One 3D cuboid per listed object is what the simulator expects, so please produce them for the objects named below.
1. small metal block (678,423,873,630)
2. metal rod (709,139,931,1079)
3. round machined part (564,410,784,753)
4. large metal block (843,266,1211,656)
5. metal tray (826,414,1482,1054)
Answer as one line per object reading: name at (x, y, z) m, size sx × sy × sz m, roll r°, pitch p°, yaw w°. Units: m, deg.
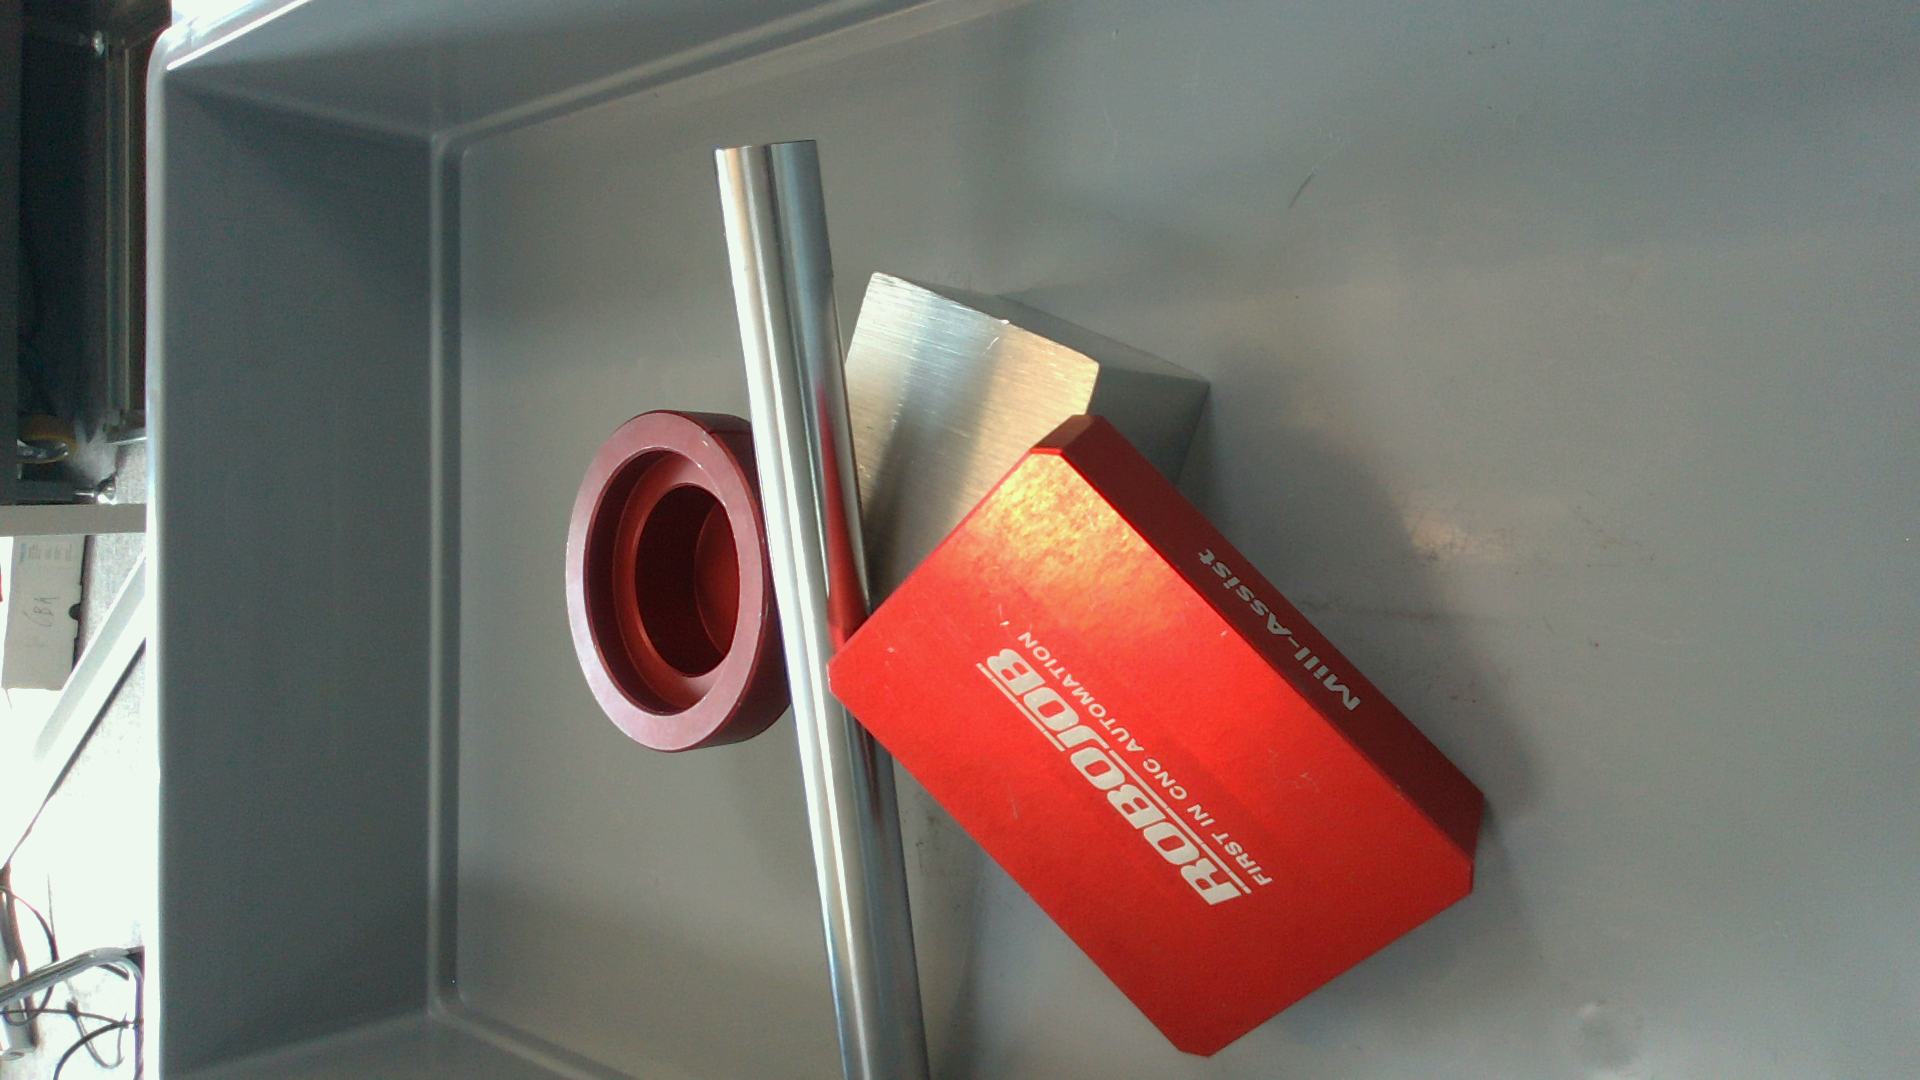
small metal block at (-0.061, -0.004, 0.445) m, size 0.050 × 0.025 × 0.050 m, roll -28°, pitch 72°, yaw 37°
metal rod at (-0.032, 0.049, 0.368) m, size 0.025 × 0.025 × 0.300 m, roll 8°, pitch 111°, yaw 40°
round machined part at (-0.073, 0.011, 0.408) m, size 0.098 × 0.042 × 0.098 m, roll 1°, pitch 91°, yaw 43°
large metal block at (0.009, -0.020, 0.370) m, size 0.080 × 0.050 × 0.080 m, roll 29°, pitch 108°, yaw 36°
metal tray at (0.043, 0.047, 0.321) m, size 0.130 × 0.030 × 0.090 m, roll 45°, pitch 121°, yaw 2°
